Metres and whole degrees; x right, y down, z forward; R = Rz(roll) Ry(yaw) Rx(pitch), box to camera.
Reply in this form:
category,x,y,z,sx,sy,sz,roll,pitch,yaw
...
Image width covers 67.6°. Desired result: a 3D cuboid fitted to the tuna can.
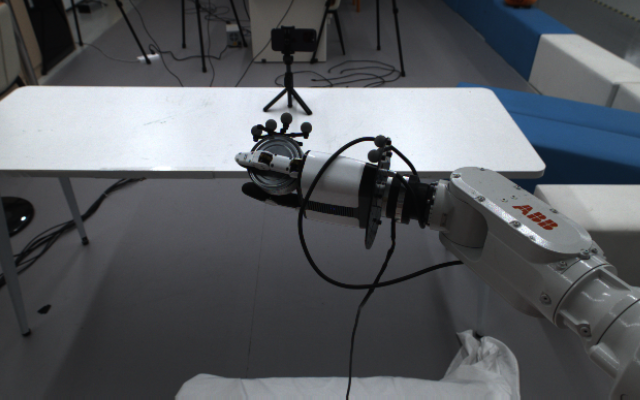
category,x,y,z,sx,sy,sz,roll,pitch,yaw
tuna can,-0.063,-0.052,0.715,0.085,0.034,0.085,-5,70,14
